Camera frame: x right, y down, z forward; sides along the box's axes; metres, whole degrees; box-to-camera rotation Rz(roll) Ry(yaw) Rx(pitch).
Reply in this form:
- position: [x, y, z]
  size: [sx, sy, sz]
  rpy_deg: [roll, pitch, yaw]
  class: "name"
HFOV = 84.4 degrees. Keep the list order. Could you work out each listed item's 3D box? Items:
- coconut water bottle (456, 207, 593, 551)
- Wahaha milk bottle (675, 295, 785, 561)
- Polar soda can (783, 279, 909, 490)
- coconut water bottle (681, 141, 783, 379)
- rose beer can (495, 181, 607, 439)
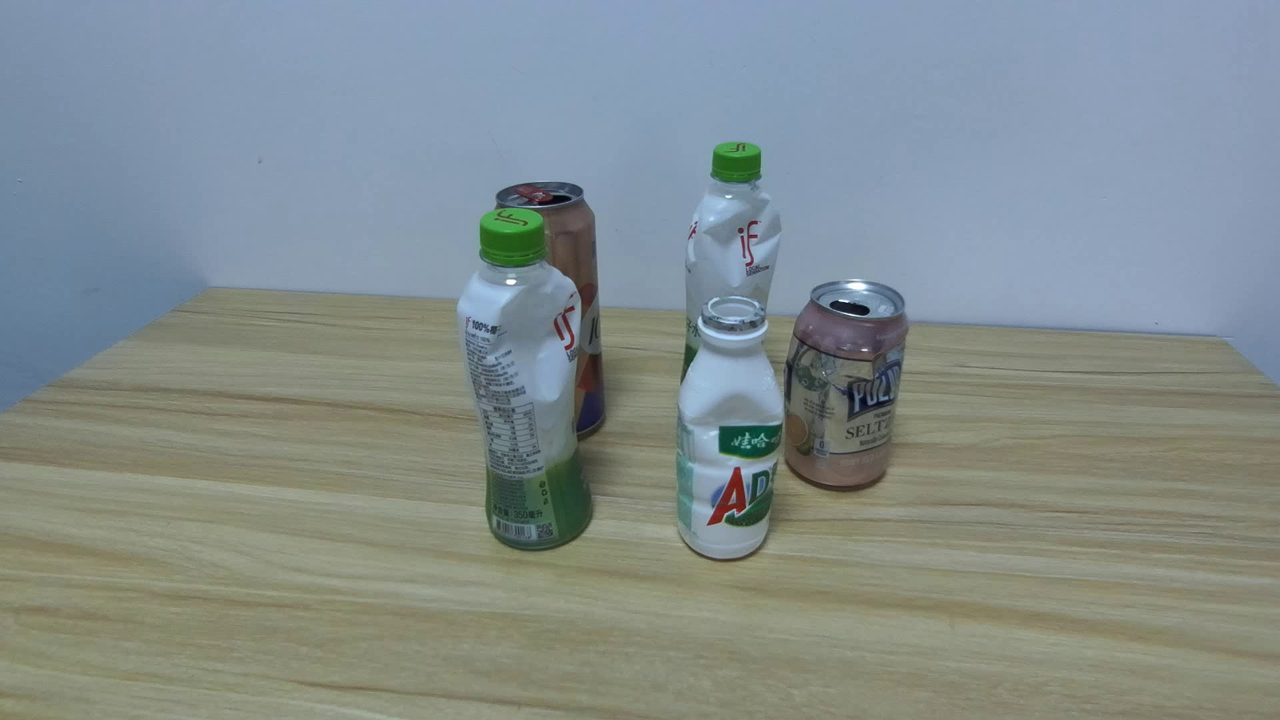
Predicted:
- position: [-0.061, 0.012, 0.383]
  size: [0.069, 0.187, 0.069]
  rpy_deg: [0, 27, 0]
  class: "coconut water bottle"
- position: [0.047, 0.038, 0.374]
  size: [0.056, 0.148, 0.056]
  rpy_deg: [0, 32, 0]
  class: "Wahaha milk bottle"
- position: [0.126, 0.017, 0.440]
  size: [0.074, 0.122, 0.067]
  rpy_deg: [3, 28, 5]
  class: "Polar soda can"
- position: [0.060, -0.051, 0.487]
  size: [0.067, 0.187, 0.067]
  rpy_deg: [1, 23, 0]
  class: "coconut water bottle"
- position: [-0.060, -0.029, 0.481]
  size: [0.068, 0.169, 0.068]
  rpy_deg: [-1, 24, 1]
  class: "rose beer can"
